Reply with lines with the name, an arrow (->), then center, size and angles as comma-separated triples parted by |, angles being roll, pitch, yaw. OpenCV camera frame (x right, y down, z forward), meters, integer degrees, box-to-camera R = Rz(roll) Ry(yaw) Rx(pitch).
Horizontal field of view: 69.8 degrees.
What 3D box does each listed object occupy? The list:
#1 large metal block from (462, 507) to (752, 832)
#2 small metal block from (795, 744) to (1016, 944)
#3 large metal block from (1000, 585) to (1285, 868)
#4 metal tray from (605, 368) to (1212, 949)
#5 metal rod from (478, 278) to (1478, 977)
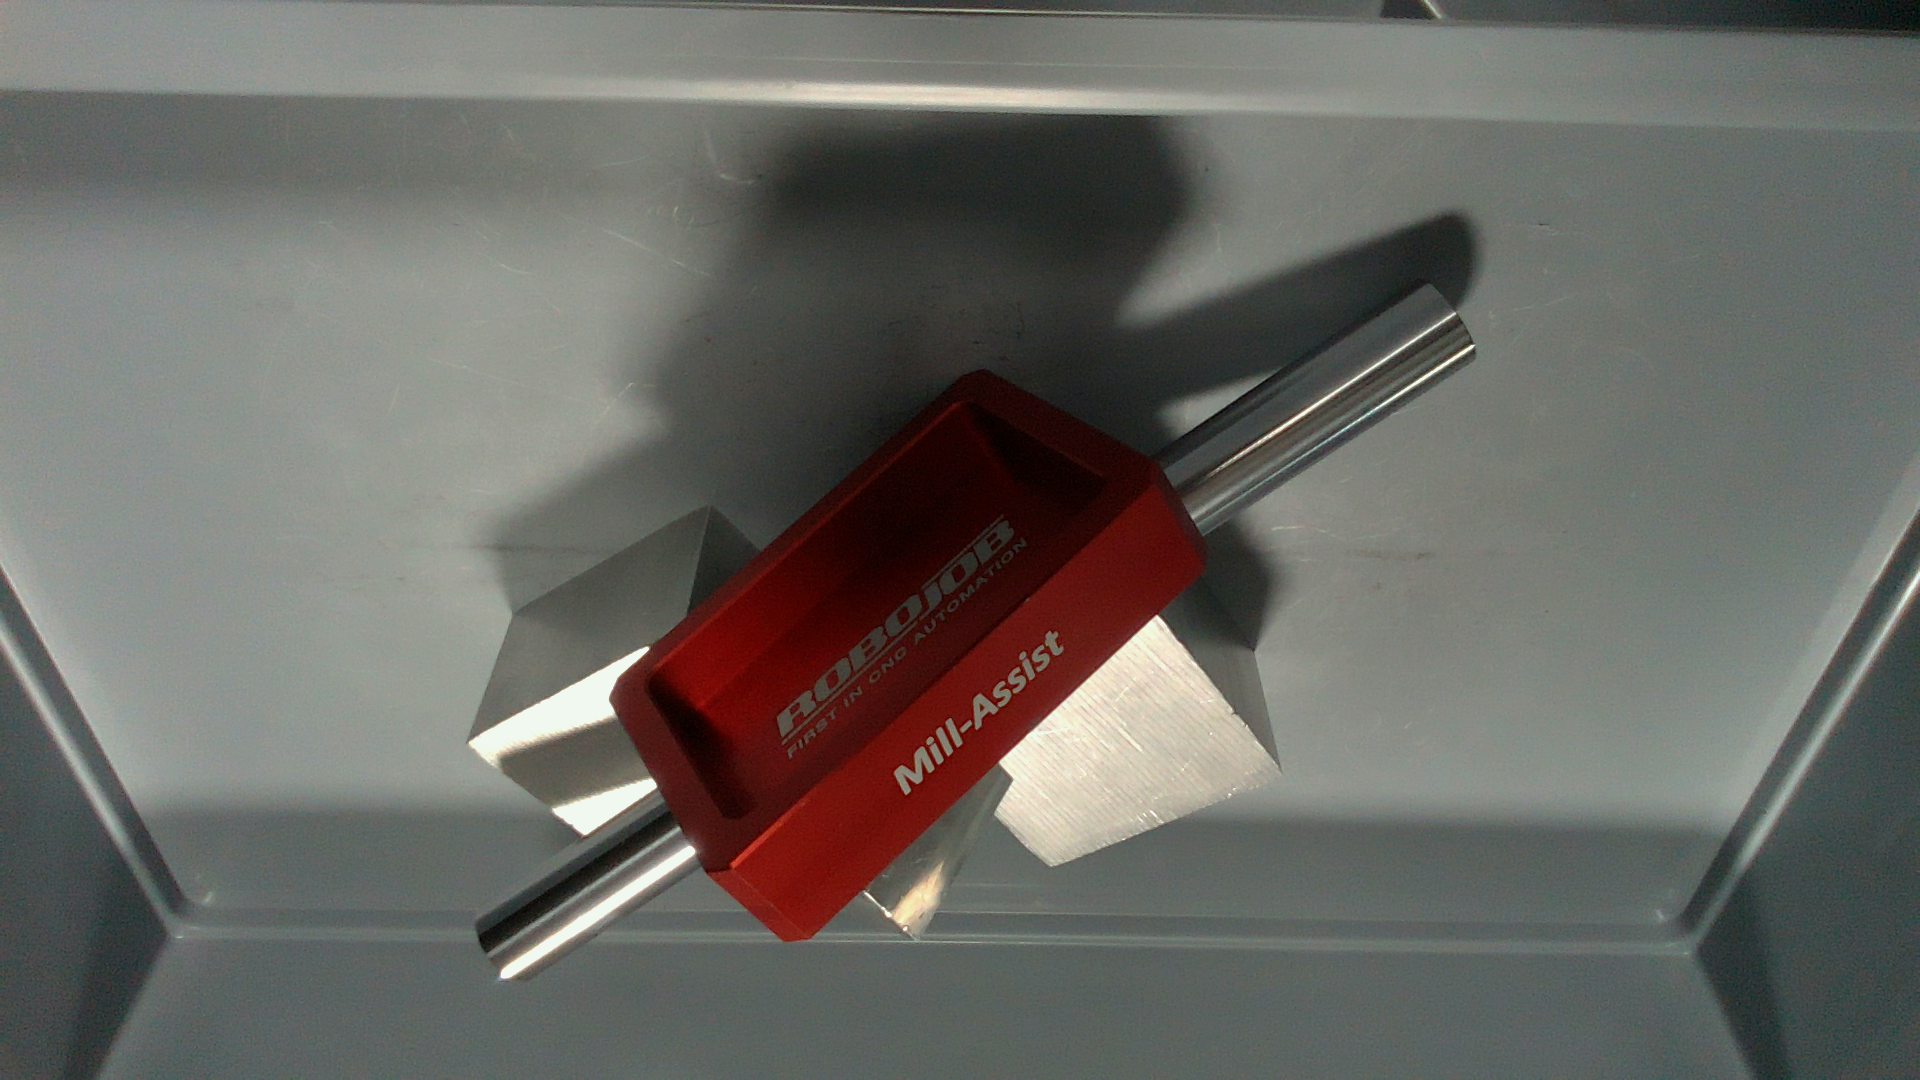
large metal block -> -0.084, 0.049, 0.411 | 0.080, 0.050, 0.080 | -27, 125, 21
small metal block -> -0.021, 0.074, 0.372 | 0.050, 0.050, 0.025 | 6, 143, 46
large metal block -> 0.039, 0.043, 0.410 | 0.080, 0.050, 0.080 | -27, 125, 21
metal tray -> -0.016, 0.021, 0.330 | 0.130, 0.090, 0.030 | -42, 126, -8
metal rod -> -0.001, 0.027, 0.364 | 0.300, 0.025, 0.025 | -34, 124, 7
